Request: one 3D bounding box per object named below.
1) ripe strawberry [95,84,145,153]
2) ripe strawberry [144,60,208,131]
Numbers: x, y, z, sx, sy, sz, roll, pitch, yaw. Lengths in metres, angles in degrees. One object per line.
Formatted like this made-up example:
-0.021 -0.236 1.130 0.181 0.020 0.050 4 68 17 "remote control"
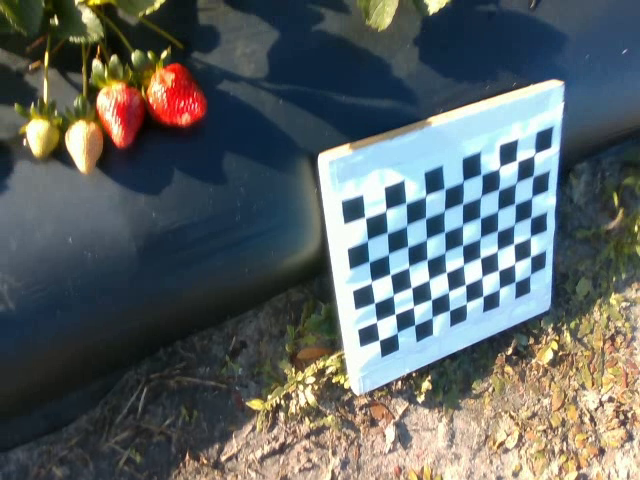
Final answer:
-0.167 -0.102 0.537 0.050 0.061 0.043 6 -29 -33 "ripe strawberry"
-0.118 -0.118 0.552 0.067 0.057 0.051 29 5 20 "ripe strawberry"
